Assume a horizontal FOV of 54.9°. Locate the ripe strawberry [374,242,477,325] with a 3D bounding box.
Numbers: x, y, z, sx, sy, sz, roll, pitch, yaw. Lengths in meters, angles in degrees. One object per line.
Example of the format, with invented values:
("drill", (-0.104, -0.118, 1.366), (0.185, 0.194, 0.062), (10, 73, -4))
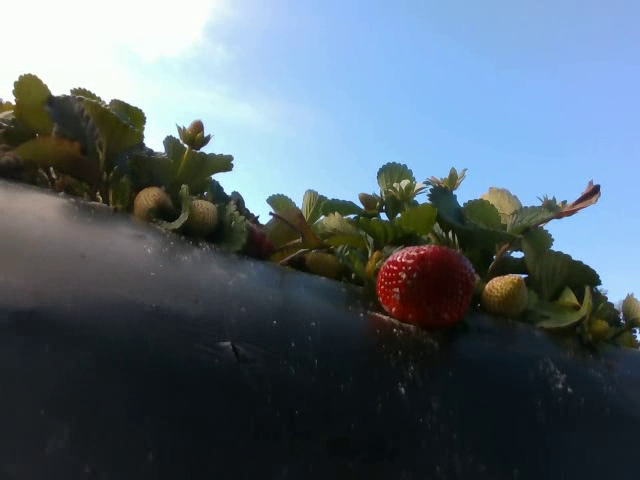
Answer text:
("ripe strawberry", (0.058, 0.018, 0.320), (0.052, 0.045, 0.068), (17, -22, 0))
